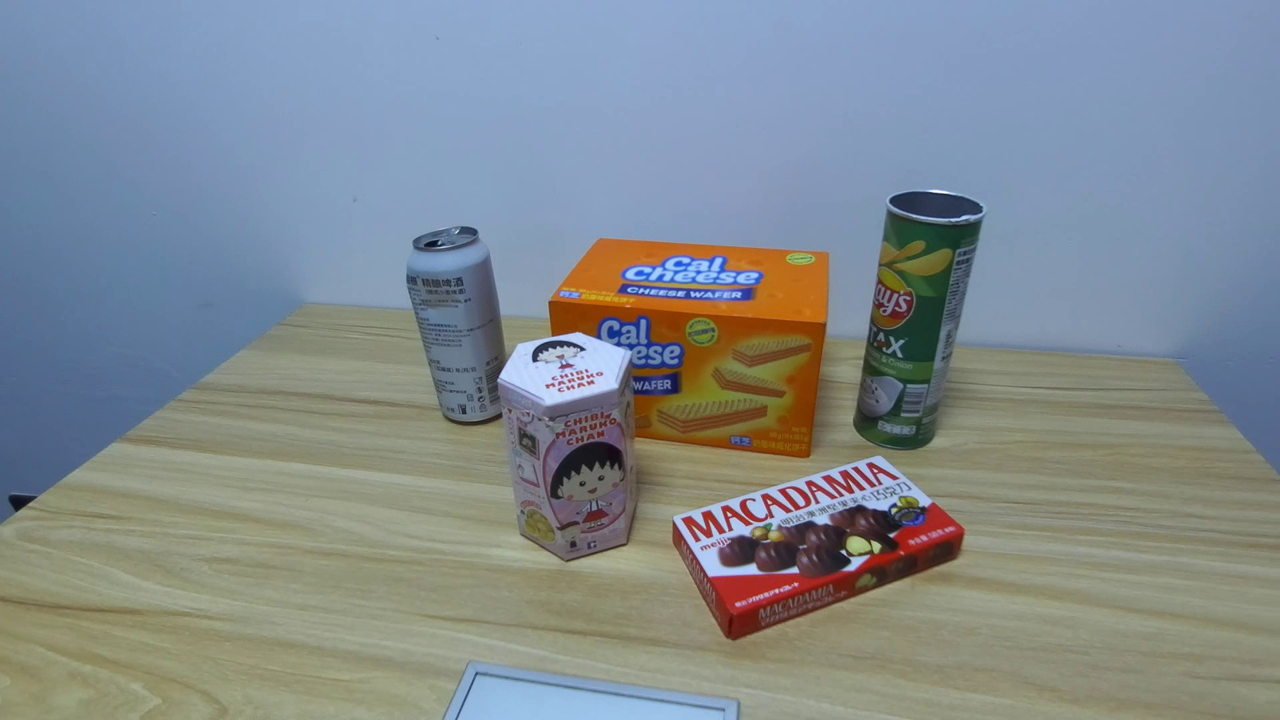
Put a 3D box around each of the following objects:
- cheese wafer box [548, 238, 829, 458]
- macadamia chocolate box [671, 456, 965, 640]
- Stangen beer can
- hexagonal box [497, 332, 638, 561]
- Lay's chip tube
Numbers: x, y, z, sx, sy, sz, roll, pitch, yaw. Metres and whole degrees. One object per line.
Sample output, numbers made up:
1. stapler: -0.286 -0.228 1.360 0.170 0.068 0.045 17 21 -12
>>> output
1. cheese wafer box: 0.051 -0.018 0.630 0.221 0.129 0.148 6 32 12
2. macadamia chocolate box: 0.120 0.123 0.488 0.178 0.027 0.095 -12 31 -17
3. Stangen beer can: -0.157 -0.031 0.621 0.070 0.173 0.069 -3 29 -1
4. hexagonal box: -0.046 0.061 0.491 0.091 0.136 0.083 -13 32 -18
5. Lay's chip tube: 0.219 -0.029 0.564 0.071 0.203 0.071 -2 30 1
